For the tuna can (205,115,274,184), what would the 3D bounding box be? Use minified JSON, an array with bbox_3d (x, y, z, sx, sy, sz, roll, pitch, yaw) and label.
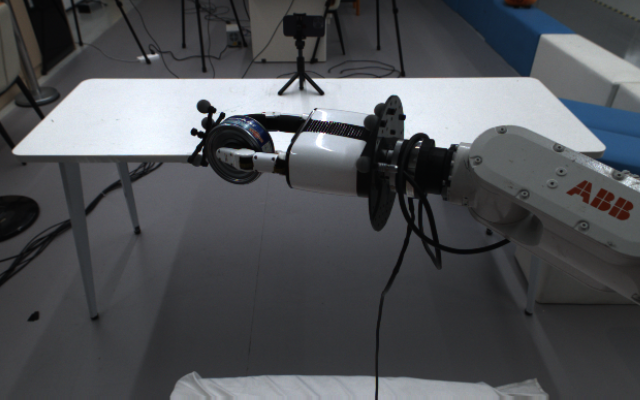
[{"bbox_3d":[-0.101,-0.060,0.622,0.085,0.085,0.034,12,31,15],"label":"tuna can"}]
